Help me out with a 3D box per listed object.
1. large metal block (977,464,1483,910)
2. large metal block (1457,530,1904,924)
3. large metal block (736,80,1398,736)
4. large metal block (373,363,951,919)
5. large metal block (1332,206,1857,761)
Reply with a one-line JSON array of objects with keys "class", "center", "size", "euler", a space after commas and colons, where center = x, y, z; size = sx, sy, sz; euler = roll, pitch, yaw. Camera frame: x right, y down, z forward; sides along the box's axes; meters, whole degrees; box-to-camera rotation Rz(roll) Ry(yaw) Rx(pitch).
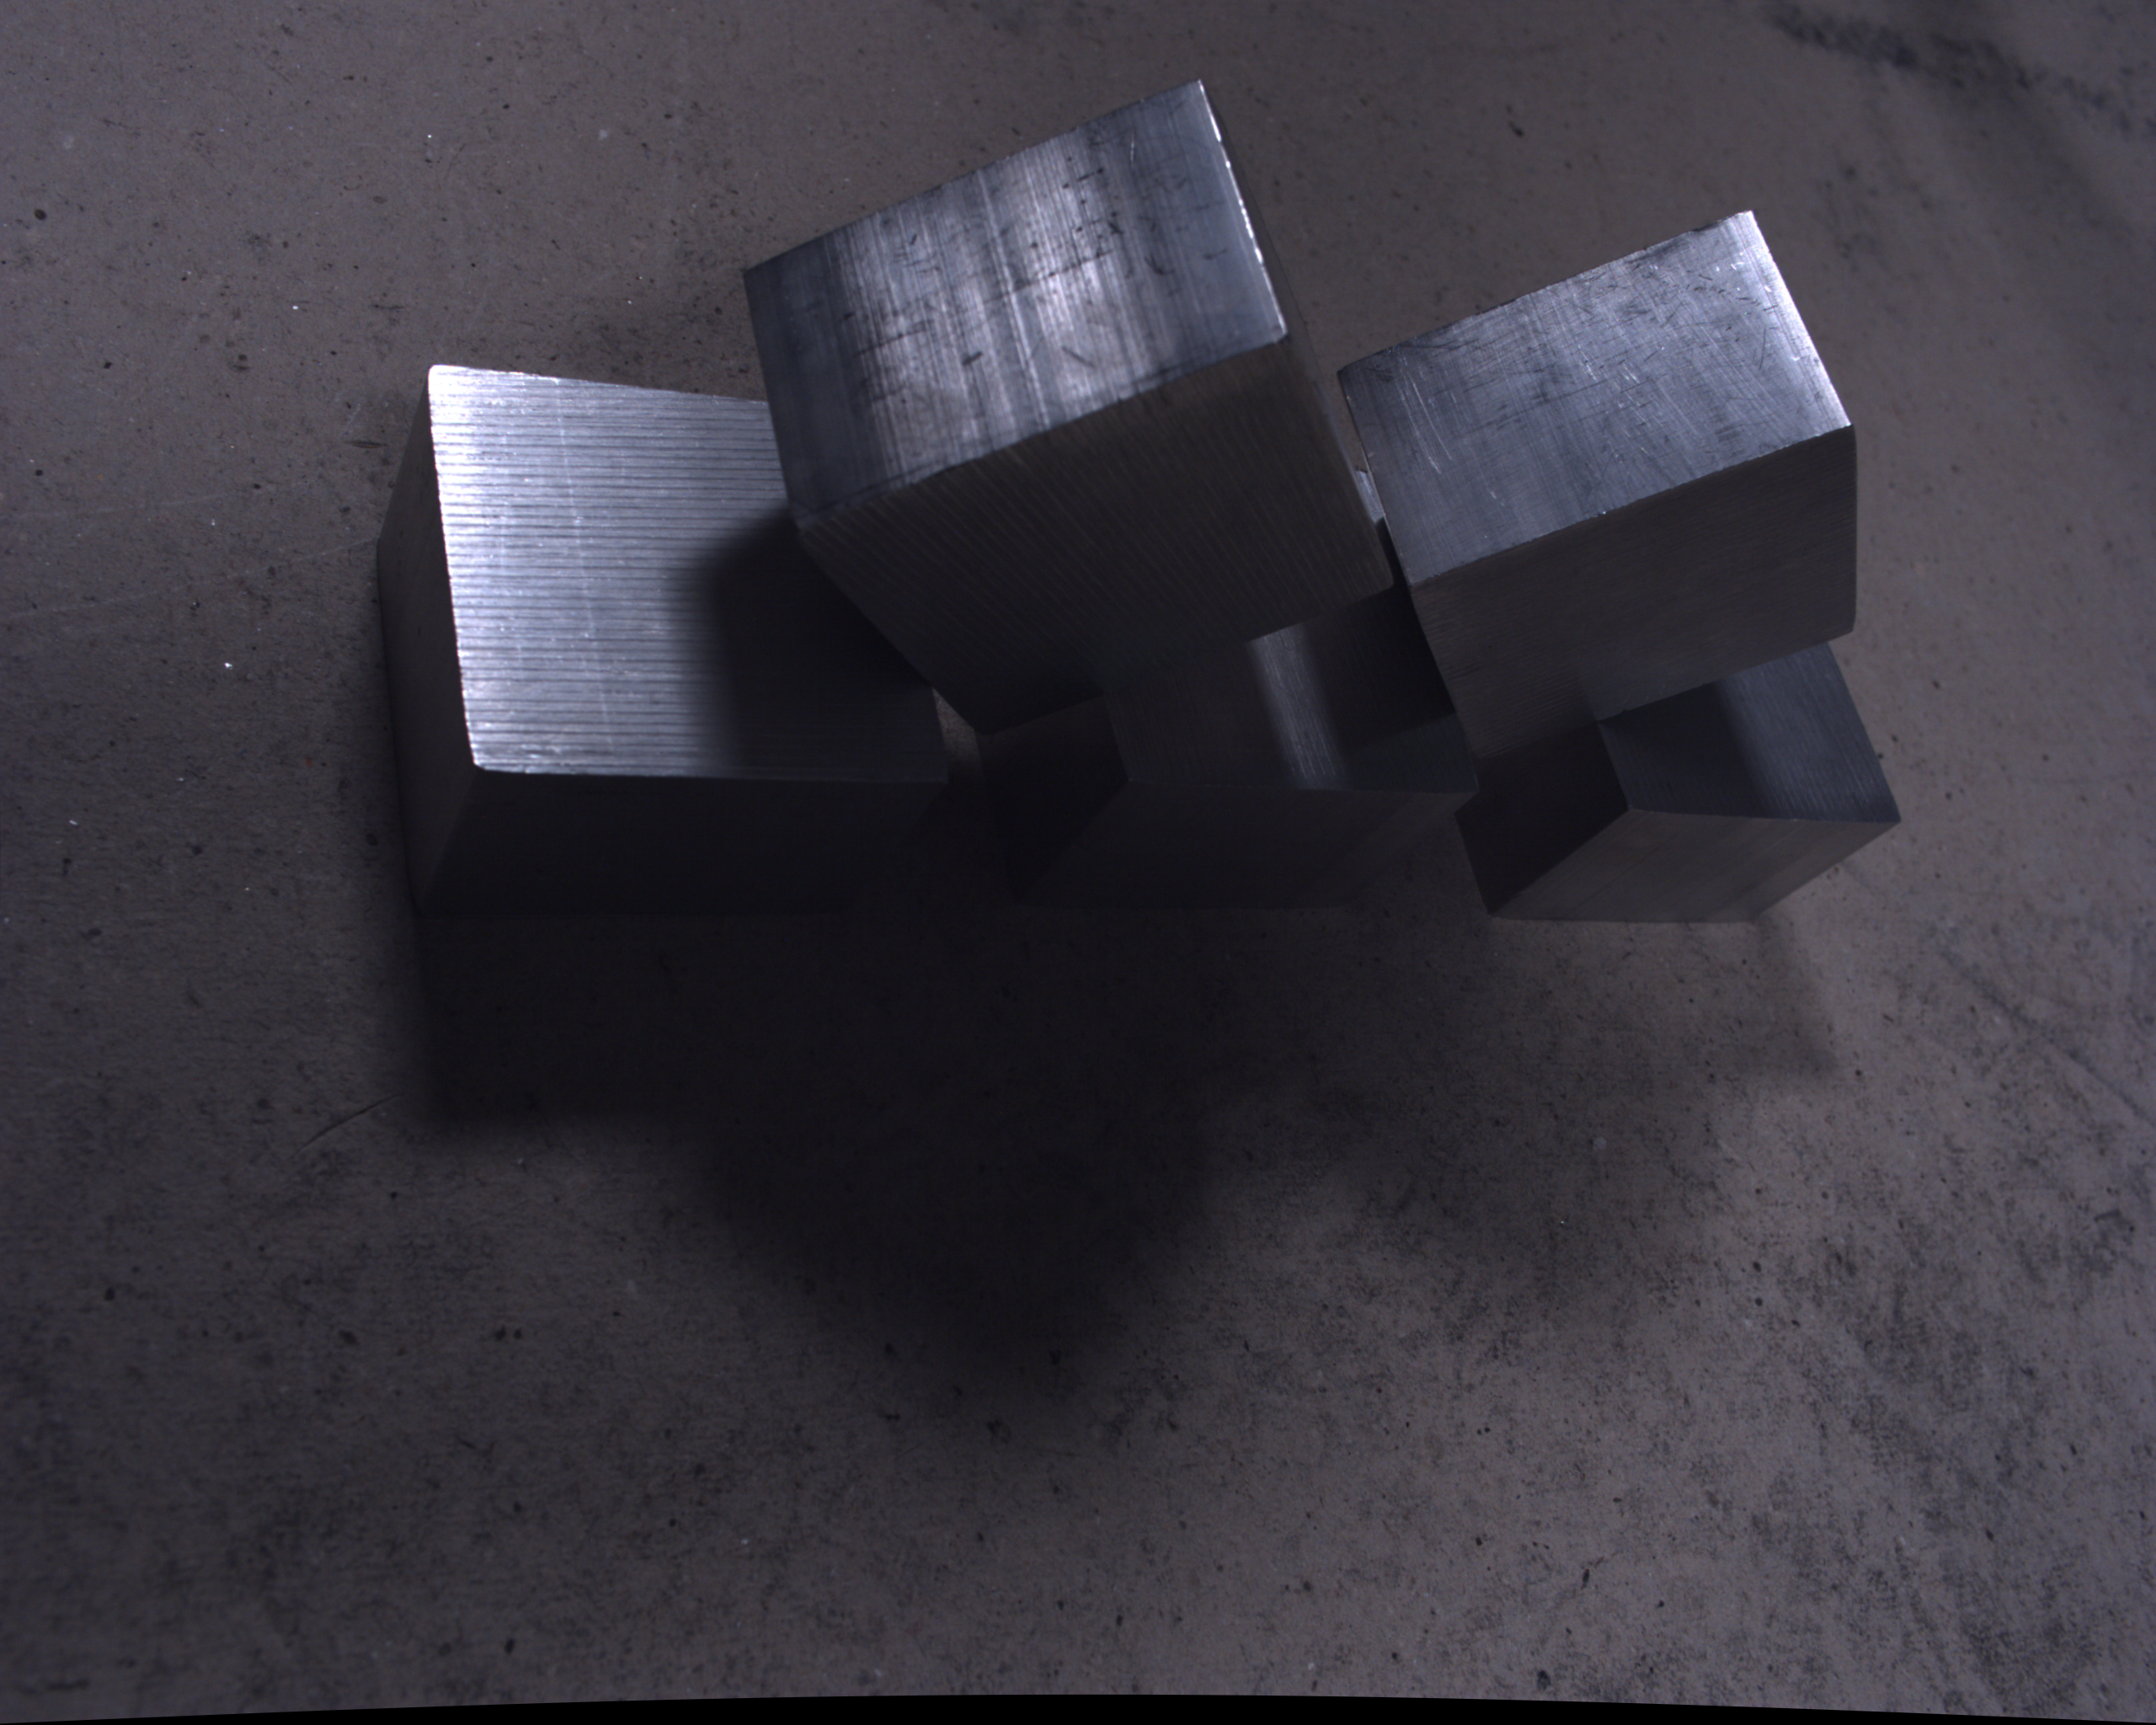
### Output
[{"class": "large metal block", "center": [0.025, -0.037, 0.427], "size": [0.081, 0.050, 0.080], "euler": [1, 62, -28]}, {"class": "large metal block", "center": [0.130, -0.033, 0.482], "size": [0.081, 0.050, 0.080], "euler": [1, 61, -28]}, {"class": "large metal block", "center": [0.001, -0.071, 0.351], "size": [0.080, 0.080, 0.050], "euler": [45, 27, -63]}, {"class": "large metal block", "center": [-0.077, -0.037, 0.372], "size": [0.081, 0.050, 0.080], "euler": [0, 62, -29]}, {"class": "large metal block", "center": [0.103, -0.070, 0.409], "size": [0.080, 0.080, 0.050], "euler": [-19, 64, 12]}]
